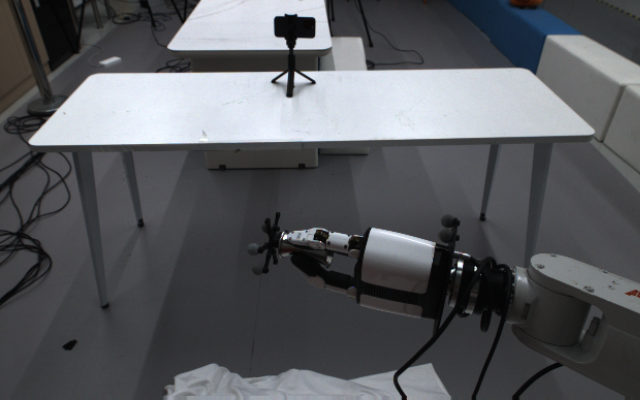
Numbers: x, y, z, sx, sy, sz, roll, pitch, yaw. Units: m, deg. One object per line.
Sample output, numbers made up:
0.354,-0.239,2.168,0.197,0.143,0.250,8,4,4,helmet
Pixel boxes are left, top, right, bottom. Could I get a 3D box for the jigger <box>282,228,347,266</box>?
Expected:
-0.011,0.060,0.656,0.071,0.043,0.043,8,35,14,jigger
